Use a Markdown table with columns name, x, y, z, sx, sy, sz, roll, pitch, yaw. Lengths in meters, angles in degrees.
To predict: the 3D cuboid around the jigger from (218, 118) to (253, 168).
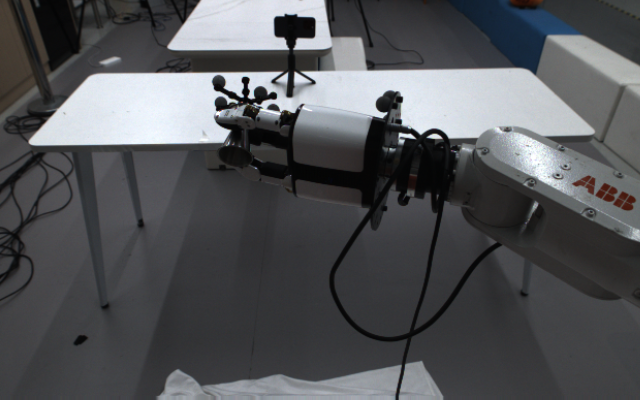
| name | x | y | z | sx | sy | sz | roll | pitch | yaw |
| --- | --- | --- | --- | --- | --- | --- | --- | --- | --- |
| jigger | -0.100 | -0.083 | 0.594 | 0.043 | 0.043 | 0.071 | 4 | 60 | 2 |
